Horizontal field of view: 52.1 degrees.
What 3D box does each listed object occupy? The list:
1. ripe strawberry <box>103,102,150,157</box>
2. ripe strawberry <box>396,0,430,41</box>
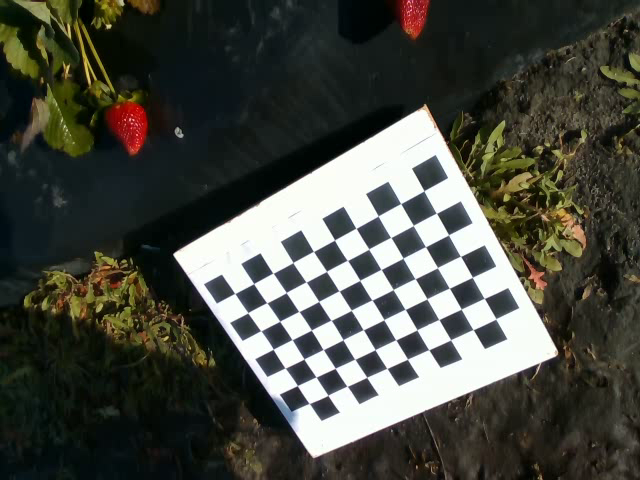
[{"bbox_3d":[-0.174,-0.097,0.591,0.045,0.055,0.041,-21,-17,11],"label":"ripe strawberry"},{"bbox_3d":[0.061,-0.172,0.492,0.042,0.059,0.042,-7,6,8],"label":"ripe strawberry"}]
